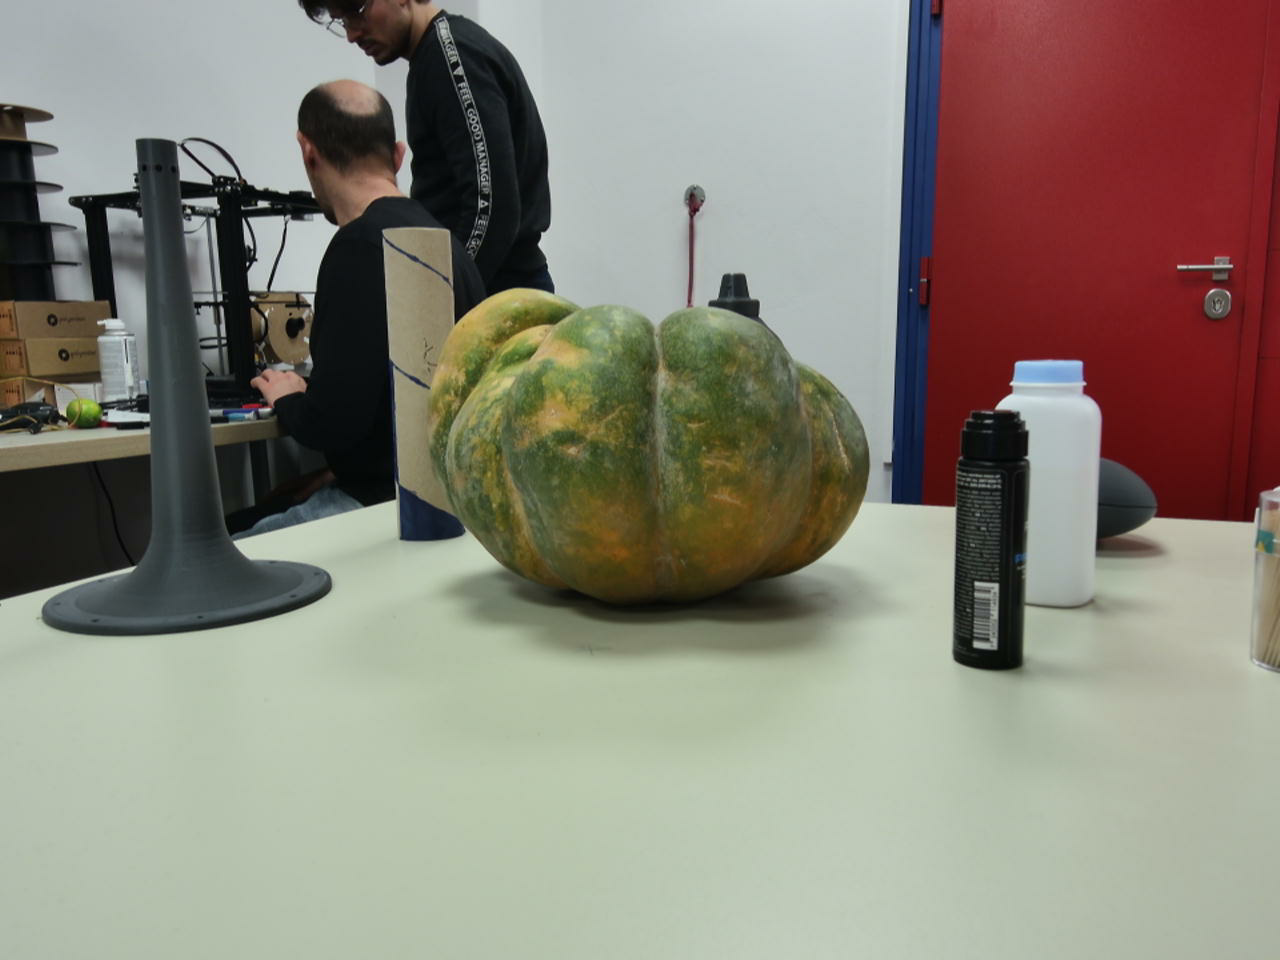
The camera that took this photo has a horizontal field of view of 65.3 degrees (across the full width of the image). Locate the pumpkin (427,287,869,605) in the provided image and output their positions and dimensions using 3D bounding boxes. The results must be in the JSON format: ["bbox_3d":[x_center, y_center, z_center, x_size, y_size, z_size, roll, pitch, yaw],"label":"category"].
[{"bbox_3d":[0.003,-0.023,0.583,0.237,0.173,0.270,-3,7,-29],"label":"pumpkin"}]
